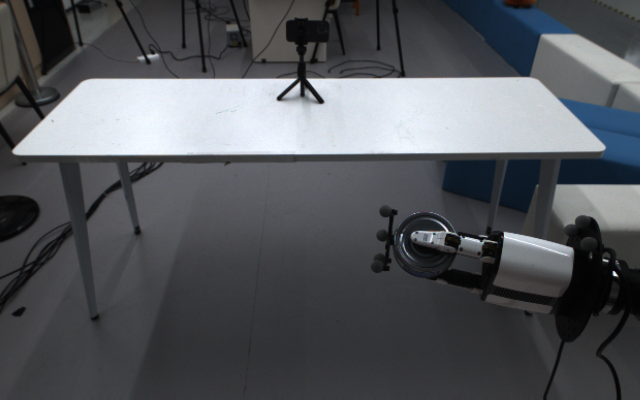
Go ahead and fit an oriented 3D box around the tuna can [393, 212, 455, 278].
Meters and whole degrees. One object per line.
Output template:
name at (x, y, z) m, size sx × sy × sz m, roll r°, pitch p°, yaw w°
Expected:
tuna can at (0.144, 0.057, 0.652) m, size 0.085 × 0.034 × 0.085 m, roll -2°, pitch 68°, yaw 6°
